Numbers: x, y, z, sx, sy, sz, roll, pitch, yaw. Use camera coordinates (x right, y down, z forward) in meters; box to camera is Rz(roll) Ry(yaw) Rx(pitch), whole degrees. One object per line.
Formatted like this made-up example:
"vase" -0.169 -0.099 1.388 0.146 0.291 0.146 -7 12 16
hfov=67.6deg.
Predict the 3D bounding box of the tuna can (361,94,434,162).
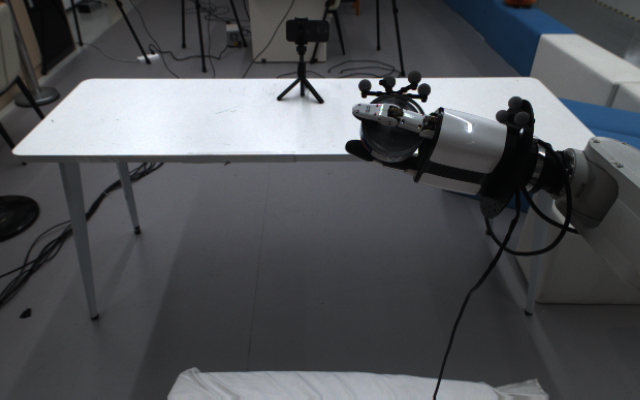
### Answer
"tuna can" 0.098 -0.091 0.635 0.085 0.034 0.085 0 75 0
